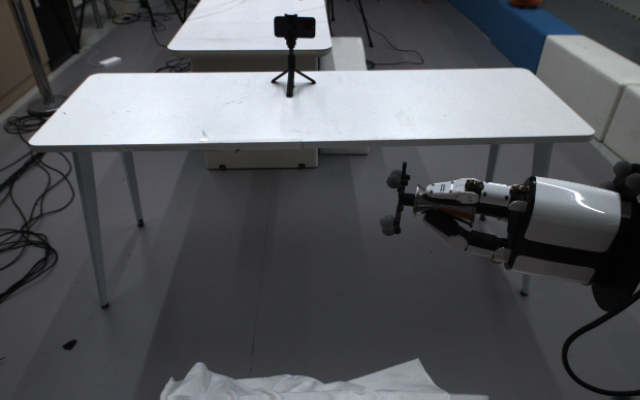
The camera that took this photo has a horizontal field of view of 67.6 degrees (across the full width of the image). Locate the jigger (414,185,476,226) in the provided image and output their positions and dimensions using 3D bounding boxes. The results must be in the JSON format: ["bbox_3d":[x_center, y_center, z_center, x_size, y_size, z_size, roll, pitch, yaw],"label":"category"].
[{"bbox_3d":[0.152,0.002,0.566,0.071,0.043,0.043,8,35,13],"label":"jigger"}]
